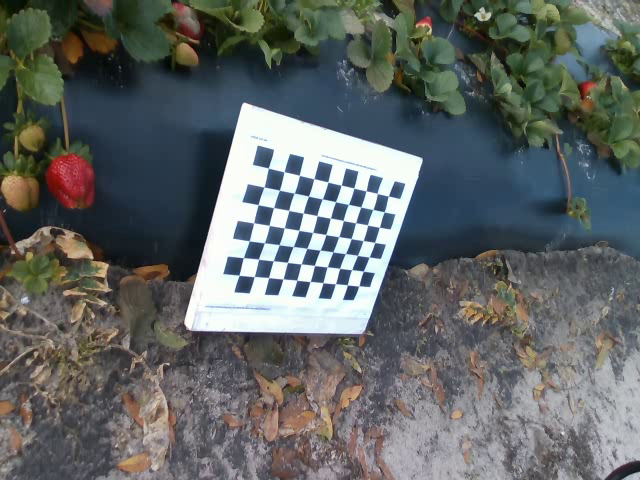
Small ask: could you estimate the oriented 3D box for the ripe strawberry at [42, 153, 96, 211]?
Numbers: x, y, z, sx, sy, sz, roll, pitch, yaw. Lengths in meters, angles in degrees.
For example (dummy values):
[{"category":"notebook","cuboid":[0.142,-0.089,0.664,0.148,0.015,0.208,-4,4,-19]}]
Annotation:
[{"category":"ripe strawberry","cuboid":[-0.260,-0.062,0.644,0.066,0.075,0.052,-13,27,-33]}]
